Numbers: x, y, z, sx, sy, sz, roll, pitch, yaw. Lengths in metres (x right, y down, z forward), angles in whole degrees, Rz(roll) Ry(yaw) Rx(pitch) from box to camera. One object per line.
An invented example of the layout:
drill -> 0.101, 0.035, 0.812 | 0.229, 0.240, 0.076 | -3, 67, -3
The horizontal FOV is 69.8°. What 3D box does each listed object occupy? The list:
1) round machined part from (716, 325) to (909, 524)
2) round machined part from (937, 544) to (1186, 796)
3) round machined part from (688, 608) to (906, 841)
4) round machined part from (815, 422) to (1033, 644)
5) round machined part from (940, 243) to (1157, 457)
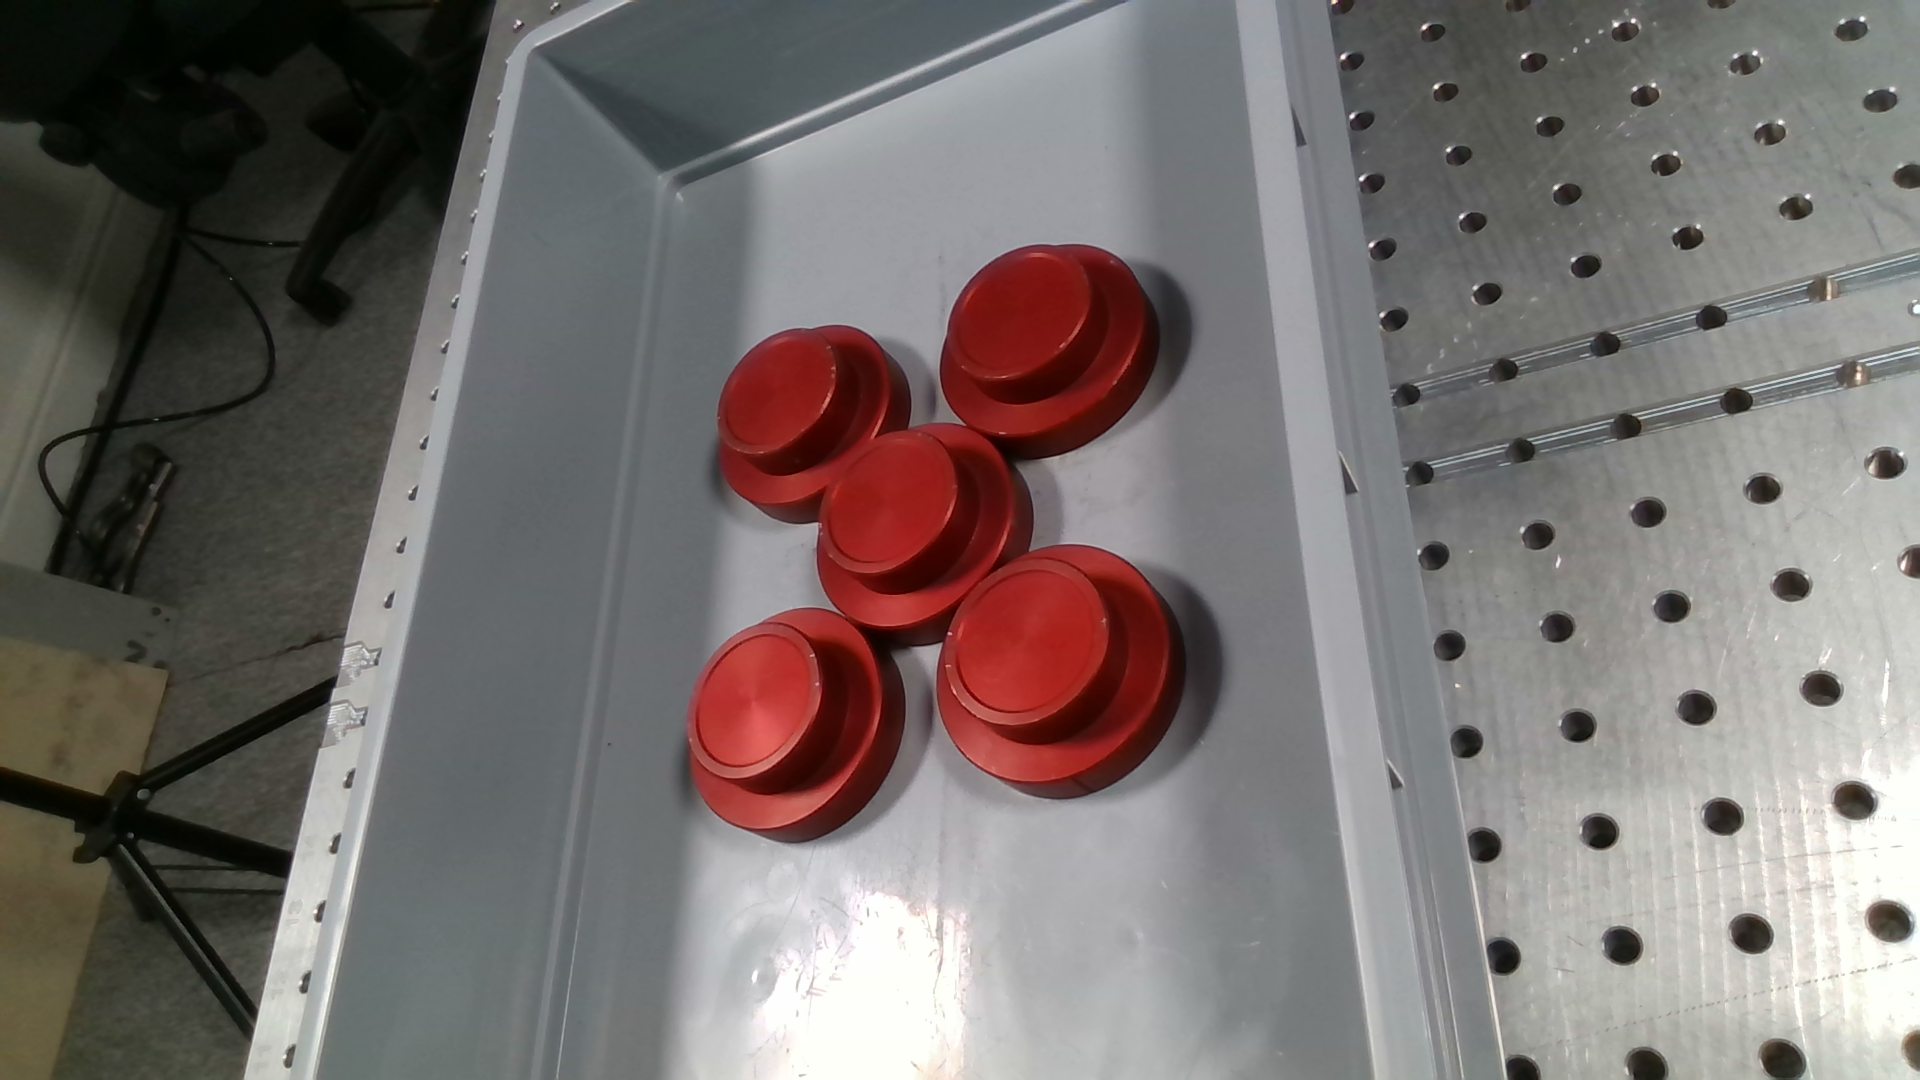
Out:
round machined part -> -0.076, -0.061, 0.652 | 0.098, 0.042, 0.098 | -14, 59, 25
round machined part -> 0.033, 0.046, 0.529 | 0.098, 0.042, 0.098 | -14, 59, 25
round machined part -> -0.075, 0.074, 0.581 | 0.098, 0.042, 0.098 | -14, 59, 25
round machined part -> -0.022, -0.008, 0.590 | 0.098, 0.042, 0.098 | -14, 59, 25
round machined part -> 0.034, -0.089, 0.600 | 0.098, 0.042, 0.098 | -14, 59, 25
